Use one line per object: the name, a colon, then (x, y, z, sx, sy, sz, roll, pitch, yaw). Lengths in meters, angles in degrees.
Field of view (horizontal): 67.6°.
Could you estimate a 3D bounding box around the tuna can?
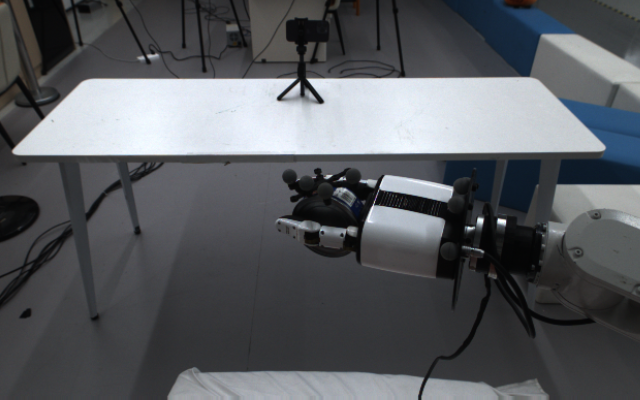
tuna can: (0.015, 0.029, 0.572, 0.085, 0.085, 0.034, 15, 34, 17)
